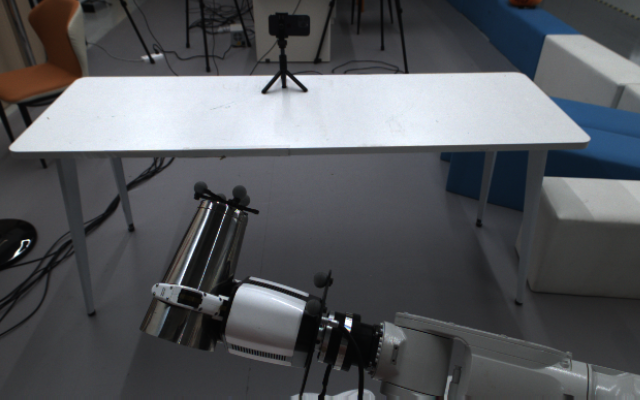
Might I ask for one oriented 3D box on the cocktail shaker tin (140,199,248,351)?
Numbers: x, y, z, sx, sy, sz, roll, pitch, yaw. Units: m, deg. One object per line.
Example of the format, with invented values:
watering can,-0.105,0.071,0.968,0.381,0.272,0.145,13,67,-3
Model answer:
cocktail shaker tin,-0.148,0.091,0.603,0.093,0.093,0.170,13,73,15
